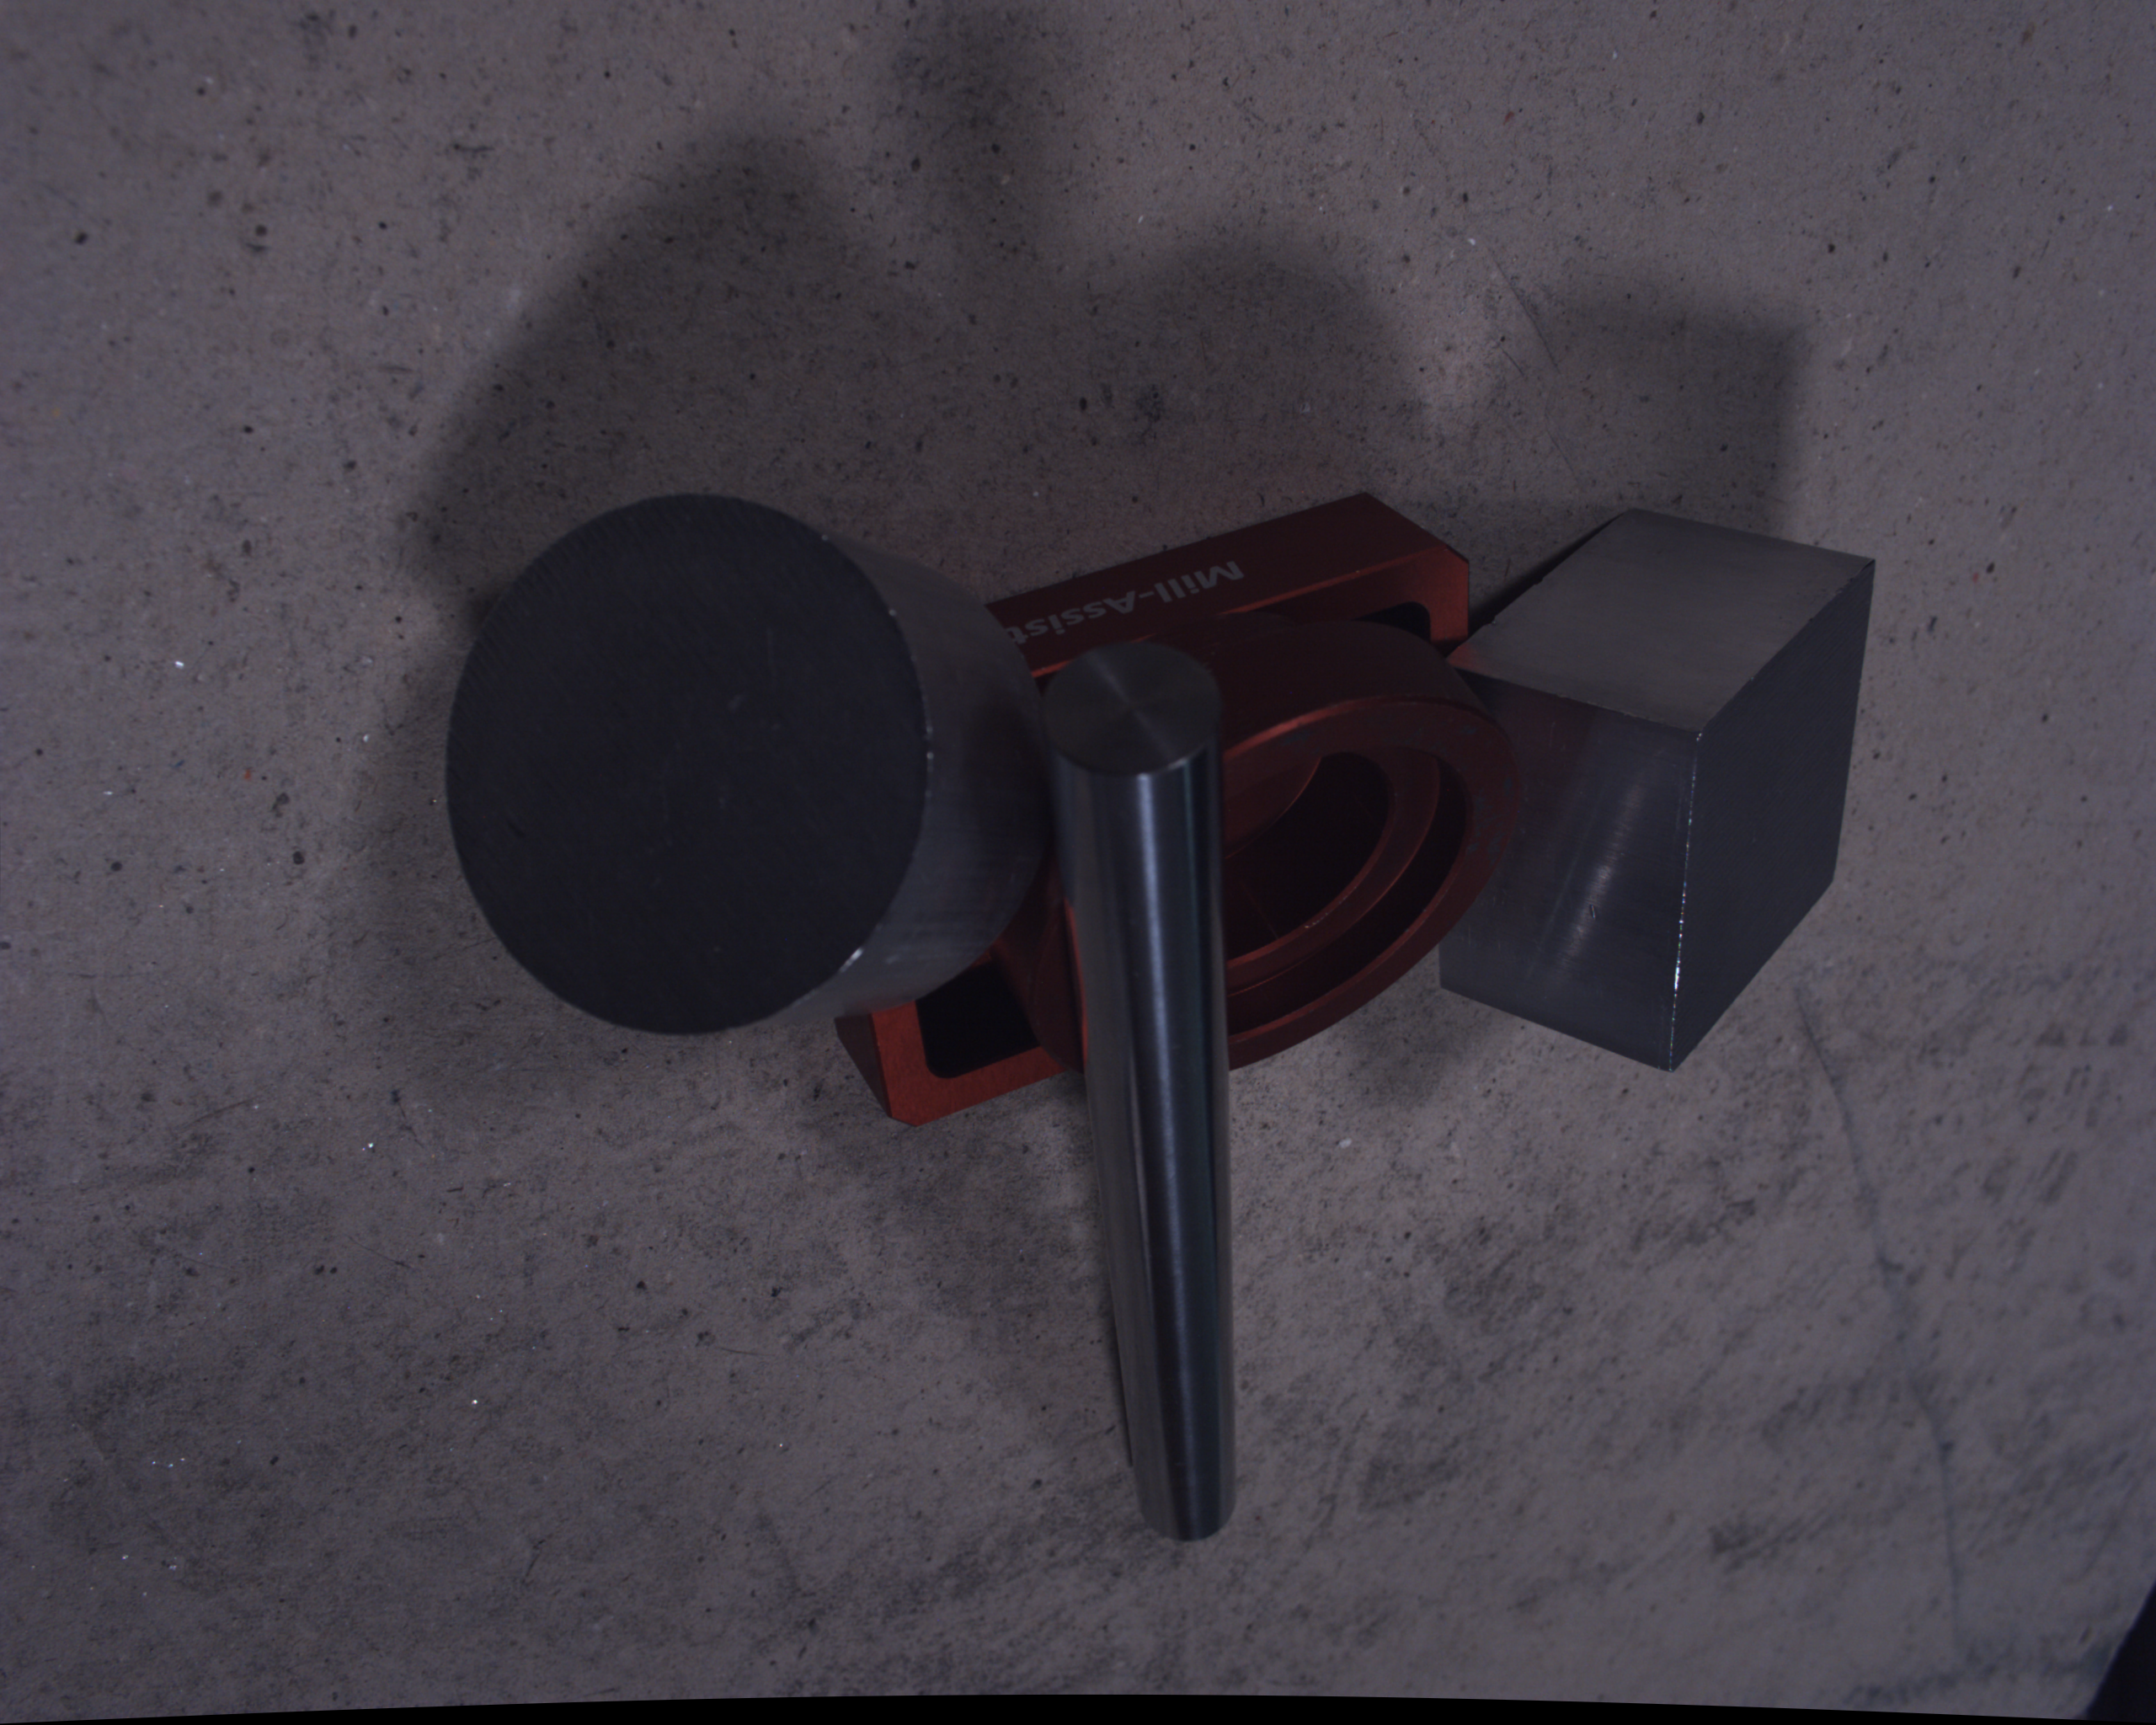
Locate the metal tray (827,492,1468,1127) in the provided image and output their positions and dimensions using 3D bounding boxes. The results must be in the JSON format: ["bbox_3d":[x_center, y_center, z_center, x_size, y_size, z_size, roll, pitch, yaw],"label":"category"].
[{"bbox_3d":[0.013,-0.011,0.407,0.131,0.030,0.089,-19,126,-18],"label":"metal tray"}]

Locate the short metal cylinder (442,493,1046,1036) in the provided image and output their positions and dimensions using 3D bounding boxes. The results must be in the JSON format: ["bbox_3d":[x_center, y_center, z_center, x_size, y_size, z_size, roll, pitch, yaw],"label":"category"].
[{"bbox_3d":[-0.051,-0.014,0.329,0.080,0.080,0.050,-55,164,11],"label":"short metal cylinder"}]

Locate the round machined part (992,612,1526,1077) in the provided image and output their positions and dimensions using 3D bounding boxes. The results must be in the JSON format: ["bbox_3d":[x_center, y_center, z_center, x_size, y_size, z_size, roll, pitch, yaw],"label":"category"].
[{"bbox_3d":[0.028,-0.006,0.379,0.099,0.042,0.097,-19,142,-16],"label":"round machined part"}]

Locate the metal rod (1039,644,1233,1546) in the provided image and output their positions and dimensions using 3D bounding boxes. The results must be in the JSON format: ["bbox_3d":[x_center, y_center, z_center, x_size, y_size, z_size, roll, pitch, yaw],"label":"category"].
[{"bbox_3d":[0.017,0.069,0.405,0.025,0.025,0.299,-25,145,-14],"label":"metal rod"}]

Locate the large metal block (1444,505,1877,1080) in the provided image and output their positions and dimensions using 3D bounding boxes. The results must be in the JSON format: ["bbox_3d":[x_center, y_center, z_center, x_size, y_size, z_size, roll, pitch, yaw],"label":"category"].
[{"bbox_3d":[0.118,-0.017,0.427,0.080,0.050,0.079,-38,135,-38],"label":"large metal block"}]
